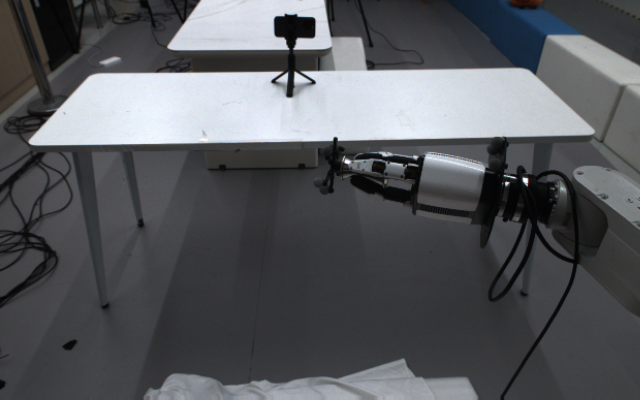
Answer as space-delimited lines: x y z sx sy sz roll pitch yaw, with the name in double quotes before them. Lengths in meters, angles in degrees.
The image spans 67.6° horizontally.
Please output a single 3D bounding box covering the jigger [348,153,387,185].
"jigger" 0.074 -0.048 0.730 0.071 0.043 0.043 10 35 16
